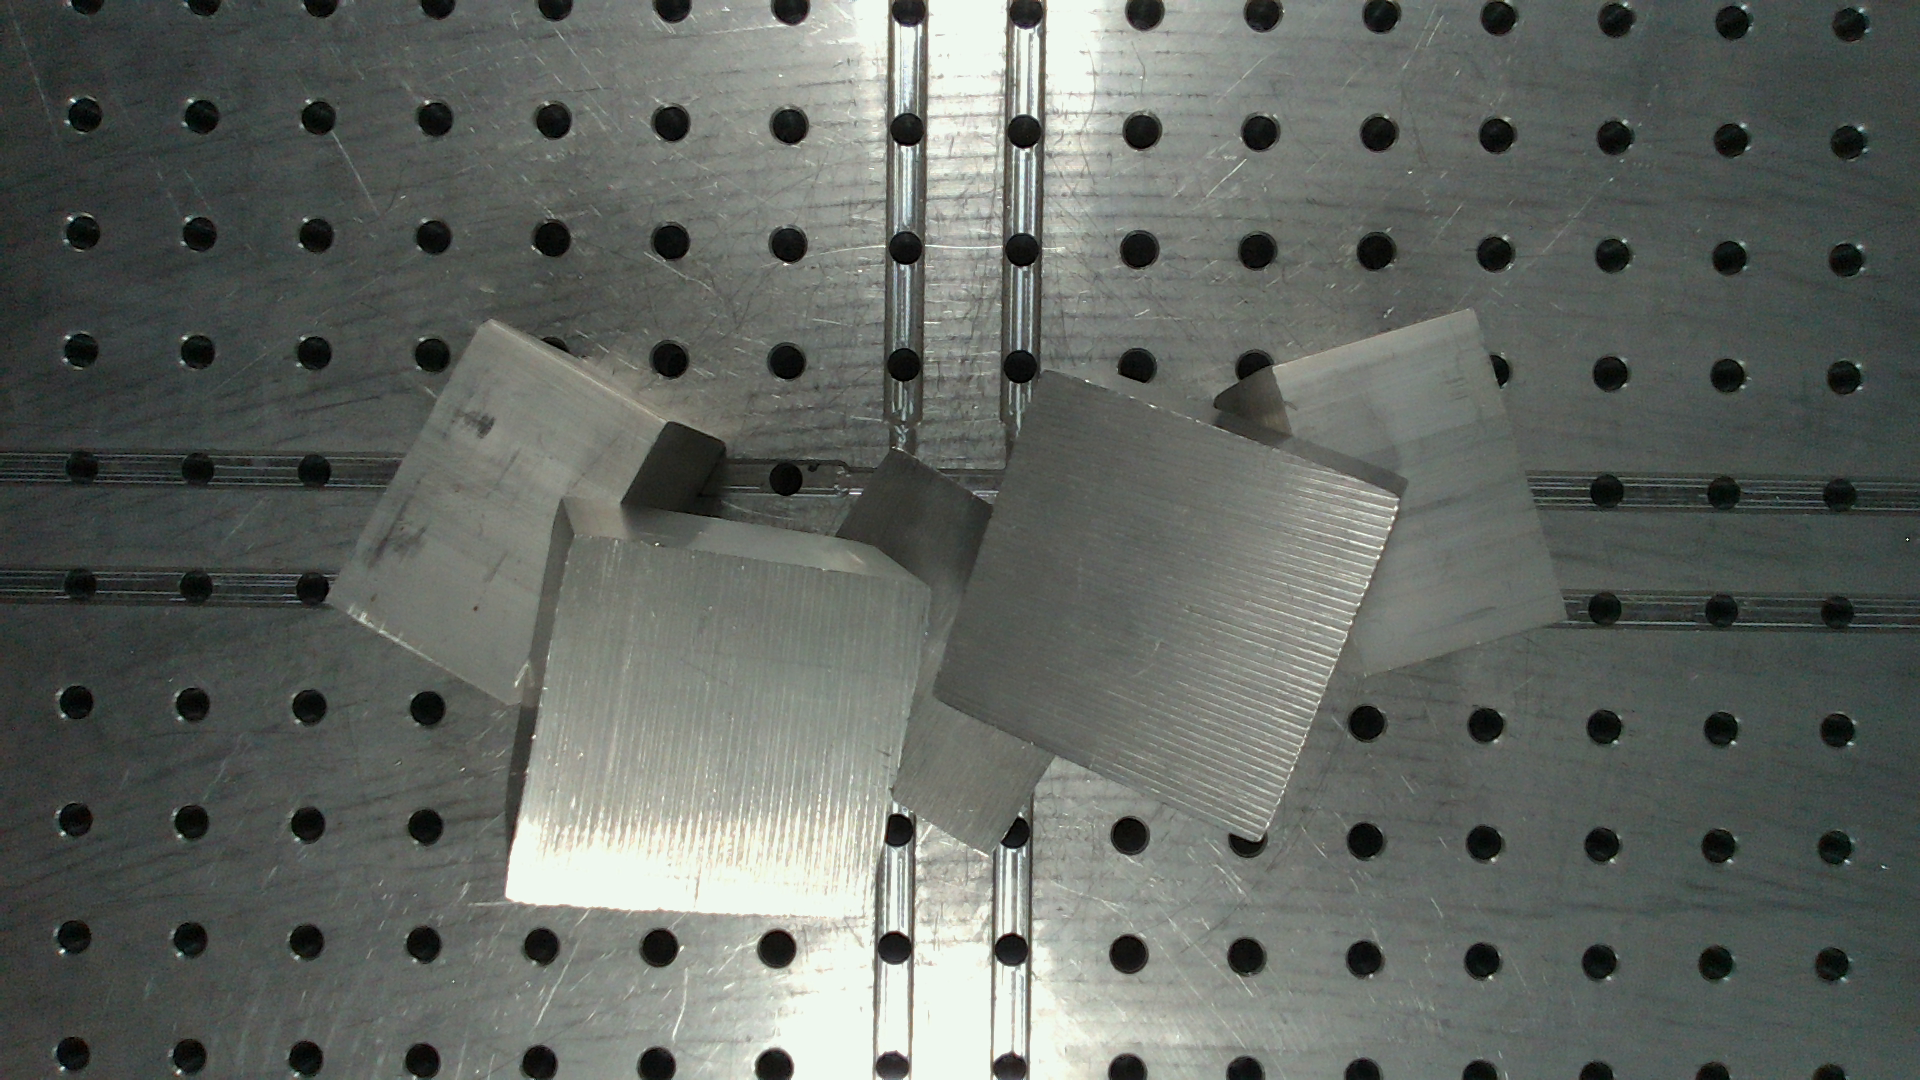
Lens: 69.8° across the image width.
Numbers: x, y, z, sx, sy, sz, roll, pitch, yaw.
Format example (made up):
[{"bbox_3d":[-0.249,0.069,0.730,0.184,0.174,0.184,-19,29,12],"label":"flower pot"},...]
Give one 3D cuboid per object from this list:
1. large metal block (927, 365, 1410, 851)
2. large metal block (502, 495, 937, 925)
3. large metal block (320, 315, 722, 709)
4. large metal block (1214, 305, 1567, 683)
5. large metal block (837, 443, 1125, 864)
[{"bbox_3d":[0.049,0.011,0.316,0.080,0.050,0.080,22,103,15],"label":"large metal block"},{"bbox_3d":[-0.058,0.039,0.319,0.080,0.050,0.080,9,97,-21],"label":"large metal block"},{"bbox_3d":[-0.112,-0.007,0.369,0.050,0.080,0.080,30,90,0],"label":"large metal block"},{"bbox_3d":[0.111,-0.011,0.370,0.050,0.080,0.080,-16,90,0],"label":"large metal block"},{"bbox_3d":[-0.004,0.030,0.385,0.080,0.050,0.080,32,90,0],"label":"large metal block"}]
